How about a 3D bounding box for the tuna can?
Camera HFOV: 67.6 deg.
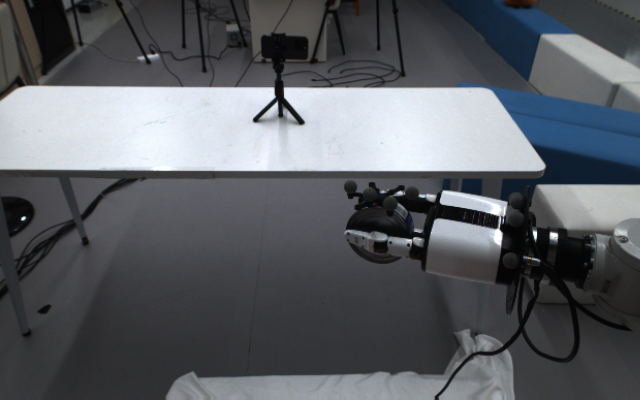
[{"bbox_3d":[0.082,0.037,0.641,0.085,0.085,0.034,13,29,16],"label":"tuna can"}]
